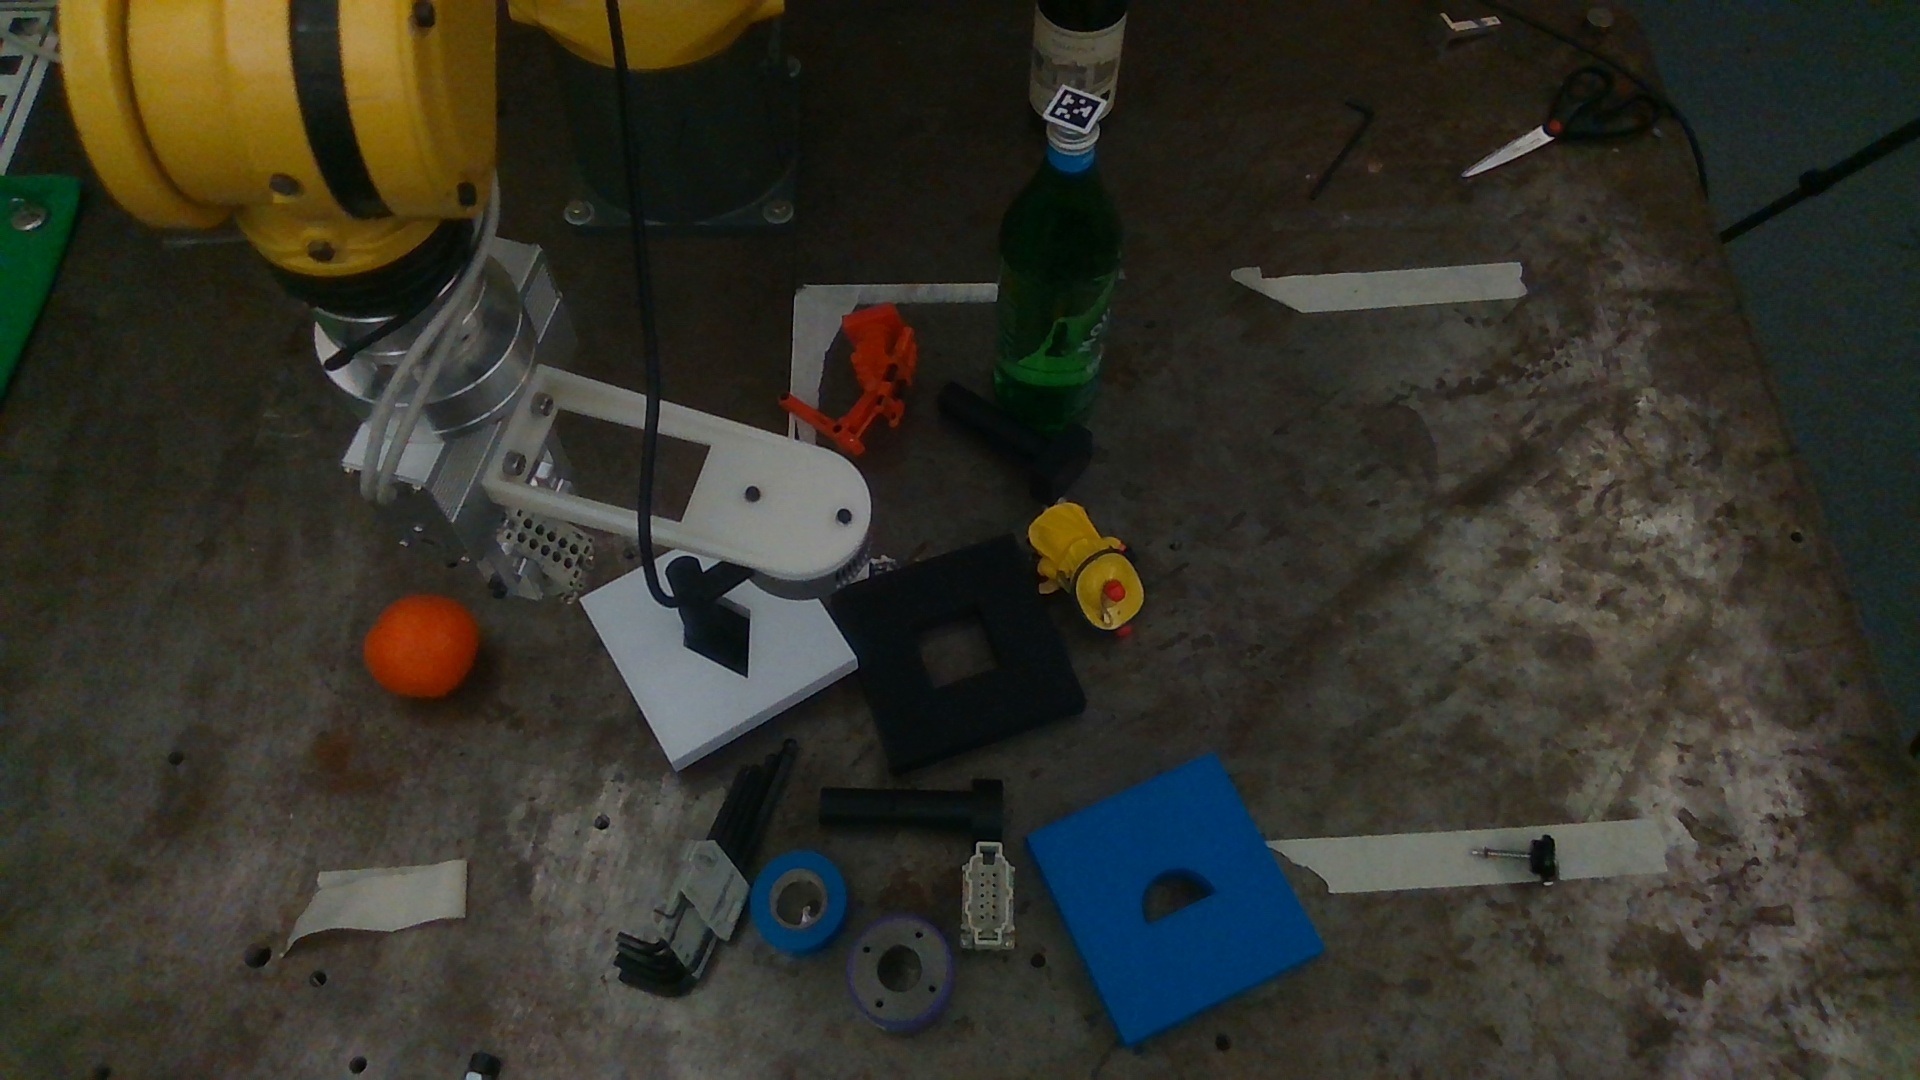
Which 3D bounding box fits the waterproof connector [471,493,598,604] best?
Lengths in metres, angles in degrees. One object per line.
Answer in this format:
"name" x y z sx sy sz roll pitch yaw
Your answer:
"waterproof connector" -0.235 0.005 0.767 0.069 0.039 0.036 36 56 -31
